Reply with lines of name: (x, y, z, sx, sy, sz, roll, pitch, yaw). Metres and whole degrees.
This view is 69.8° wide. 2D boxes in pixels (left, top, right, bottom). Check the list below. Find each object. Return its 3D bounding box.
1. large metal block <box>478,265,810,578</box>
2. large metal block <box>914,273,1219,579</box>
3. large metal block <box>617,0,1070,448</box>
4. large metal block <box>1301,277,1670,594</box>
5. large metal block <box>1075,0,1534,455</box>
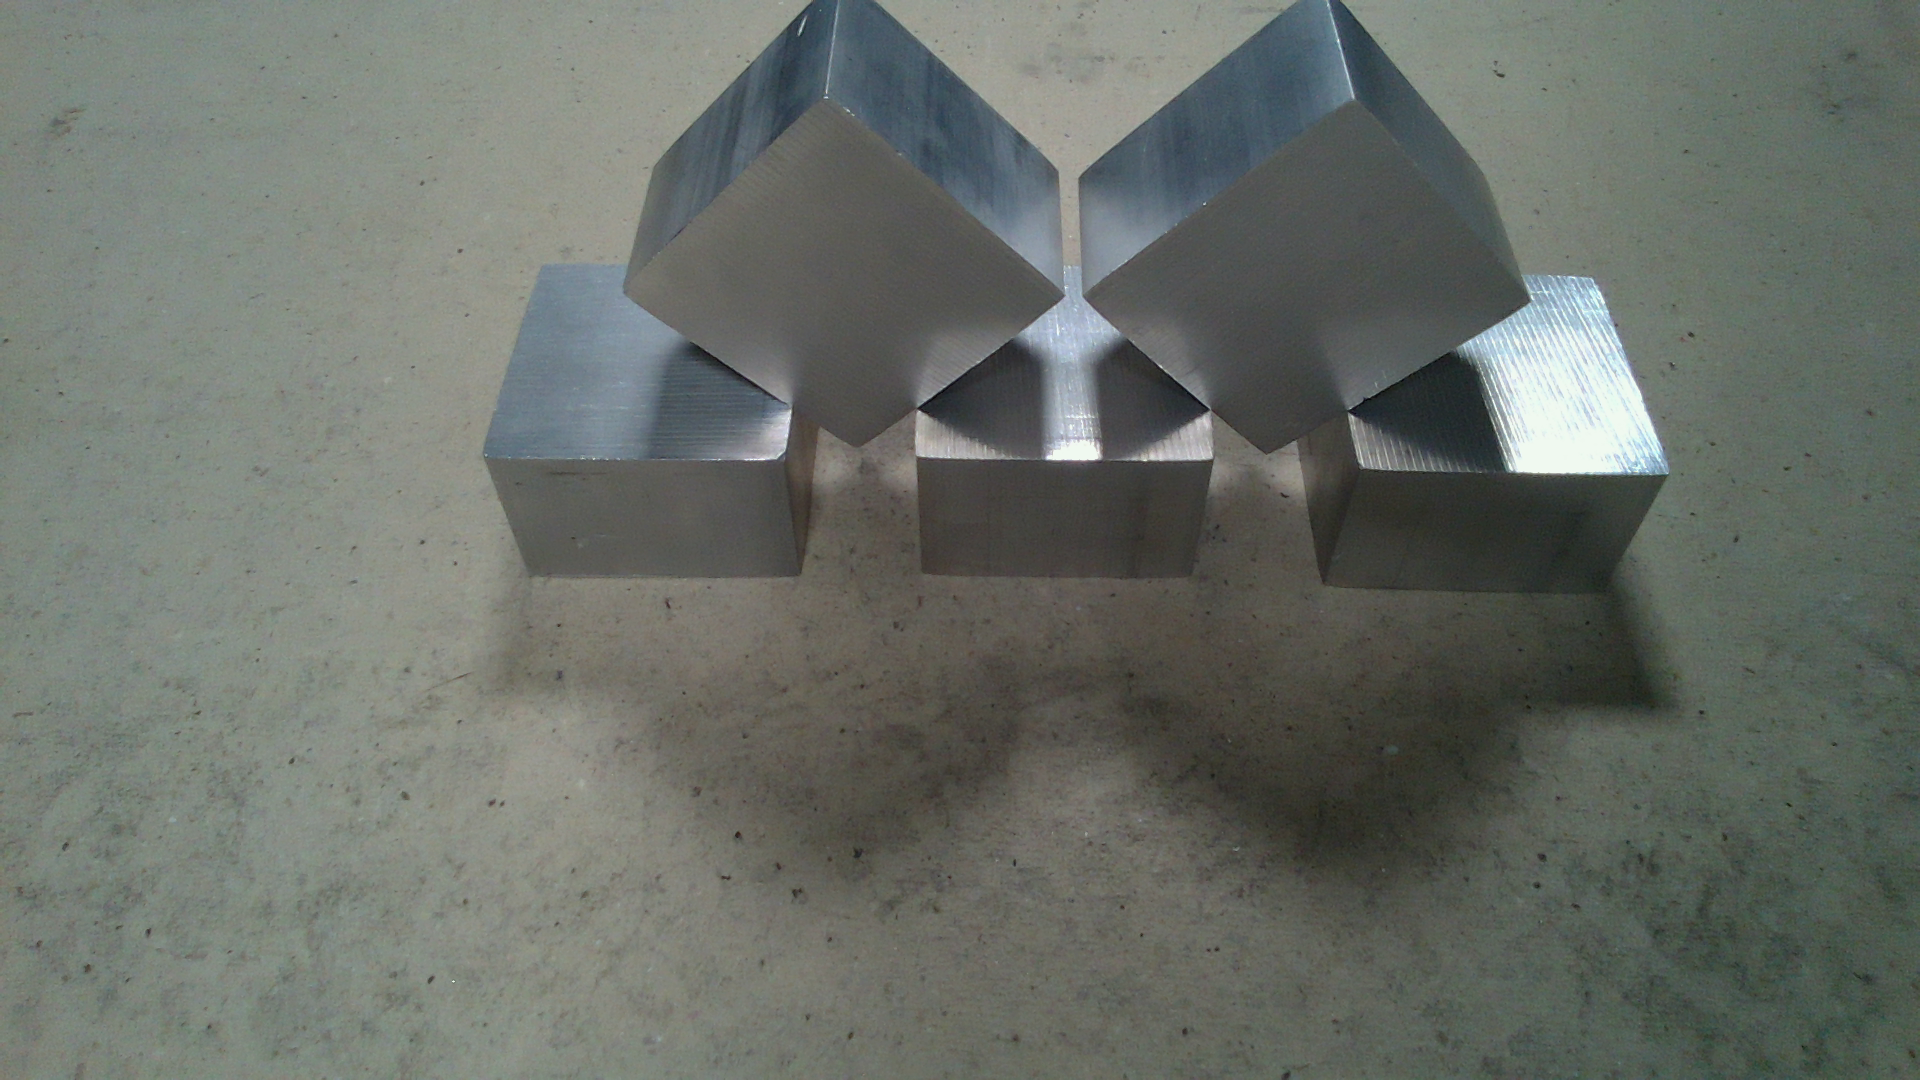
large metal block: (-0.086, -0.036, 0.406, 0.080, 0.050, 0.080, 0, 50, 0)
large metal block: (0.029, -0.036, 0.406, 0.080, 0.050, 0.080, 1, 50, 1)
large metal block: (-0.029, -0.081, 0.359, 0.080, 0.080, 0.050, 32, 40, -33)
large metal block: (0.146, -0.032, 0.403, 0.080, 0.050, 0.080, 1, 50, 1)
large metal block: (0.088, -0.080, 0.361, 0.080, 0.080, 0.050, -32, 39, 33)
